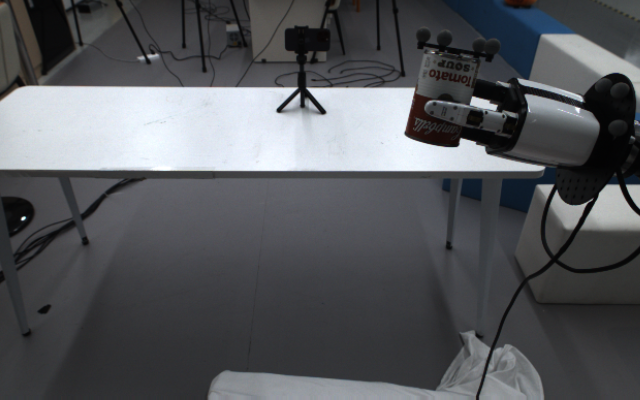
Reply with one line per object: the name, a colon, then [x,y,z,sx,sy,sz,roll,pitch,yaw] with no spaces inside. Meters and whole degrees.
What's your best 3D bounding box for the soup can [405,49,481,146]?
soup can: [0.146,-0.123,0.578,0.067,0.101,0.067,9,20,-3]
